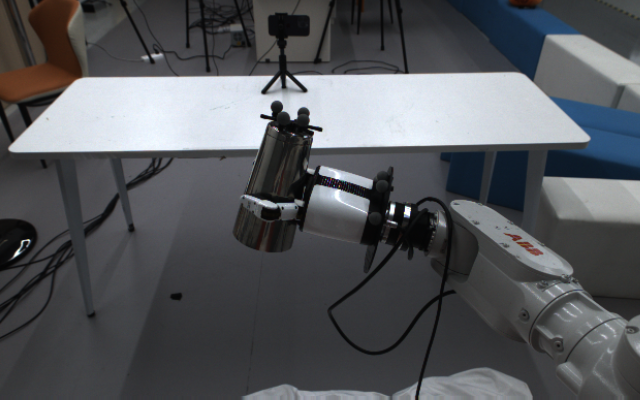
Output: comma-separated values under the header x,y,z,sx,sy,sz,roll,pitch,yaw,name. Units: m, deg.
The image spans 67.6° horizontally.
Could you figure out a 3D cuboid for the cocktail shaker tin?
x,y,z,sx,sy,sz,roll,pitch,yaw,name
-0.062,-0.022,0.695,0.093,0.170,0.093,15,20,-5,cocktail shaker tin
